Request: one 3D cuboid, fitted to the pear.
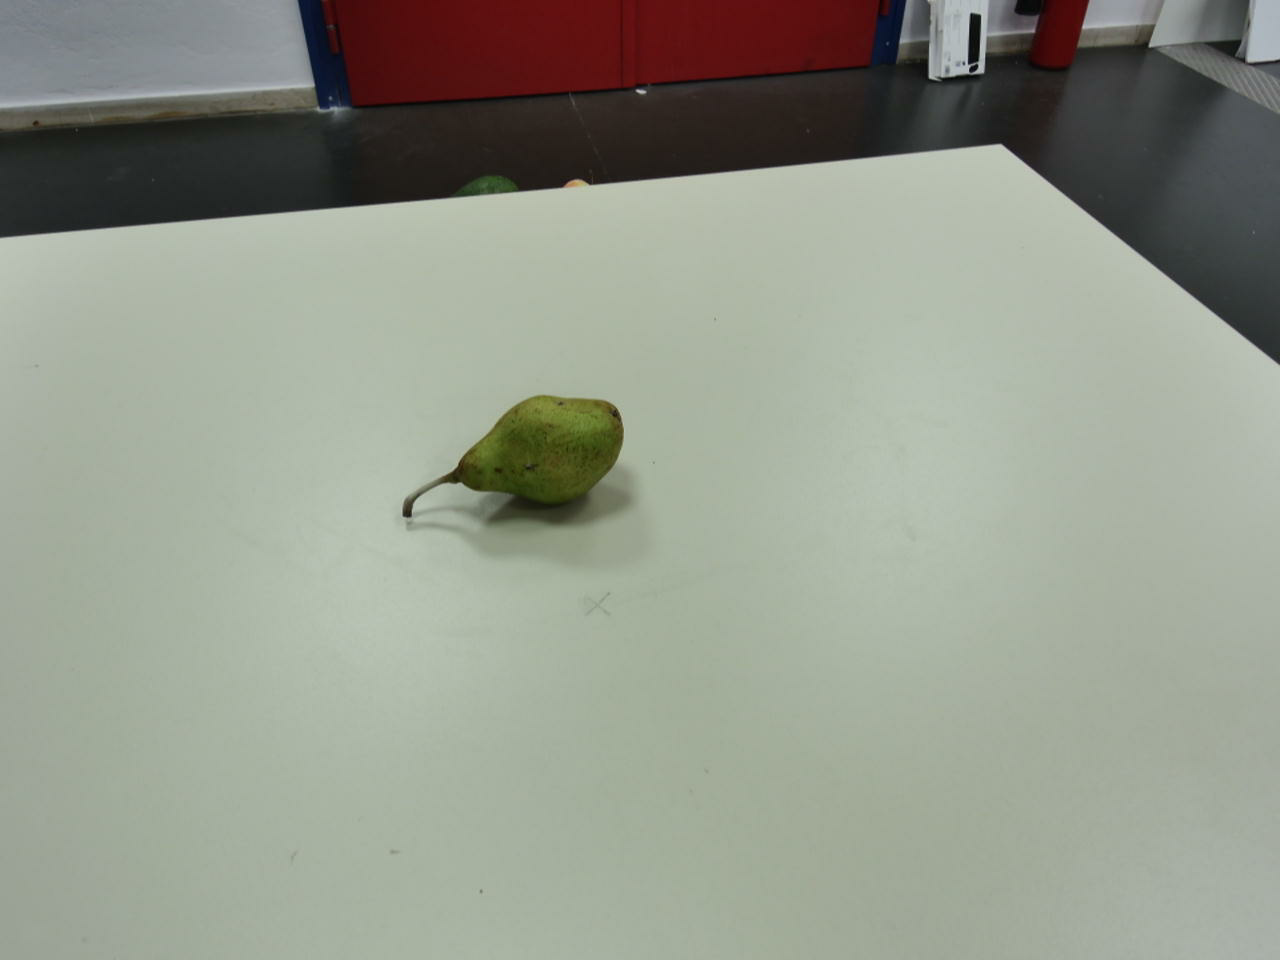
[{"bbox_3d":[-0.064,-0.016,0.503,0.111,0.056,0.056,1,39,2],"label":"pear"}]
